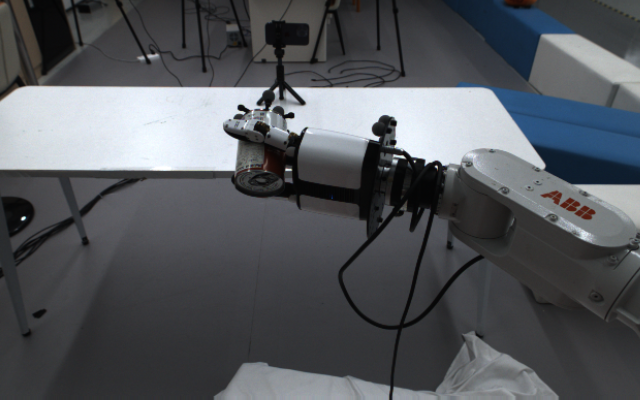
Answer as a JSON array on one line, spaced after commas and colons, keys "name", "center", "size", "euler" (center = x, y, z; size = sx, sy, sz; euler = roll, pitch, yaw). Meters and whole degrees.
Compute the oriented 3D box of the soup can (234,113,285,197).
[{"name": "soup can", "center": [-0.078, -0.064, 0.654], "size": [0.067, 0.067, 0.101], "euler": [1, 61, -2]}]
